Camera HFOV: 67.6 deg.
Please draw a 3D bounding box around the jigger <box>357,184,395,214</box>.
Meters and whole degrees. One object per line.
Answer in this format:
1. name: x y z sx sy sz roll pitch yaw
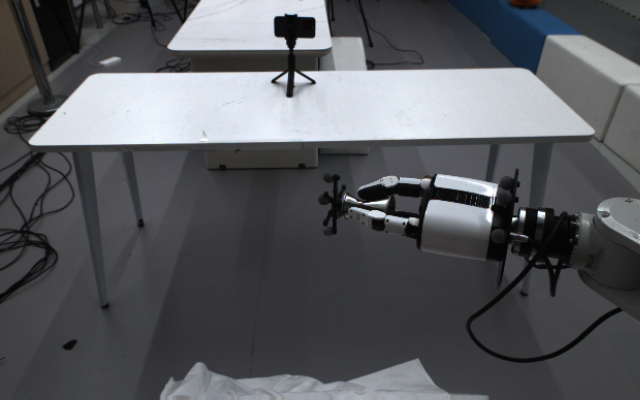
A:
1. jigger: 0.075 0.008 0.691 0.071 0.043 0.043 6 34 22
